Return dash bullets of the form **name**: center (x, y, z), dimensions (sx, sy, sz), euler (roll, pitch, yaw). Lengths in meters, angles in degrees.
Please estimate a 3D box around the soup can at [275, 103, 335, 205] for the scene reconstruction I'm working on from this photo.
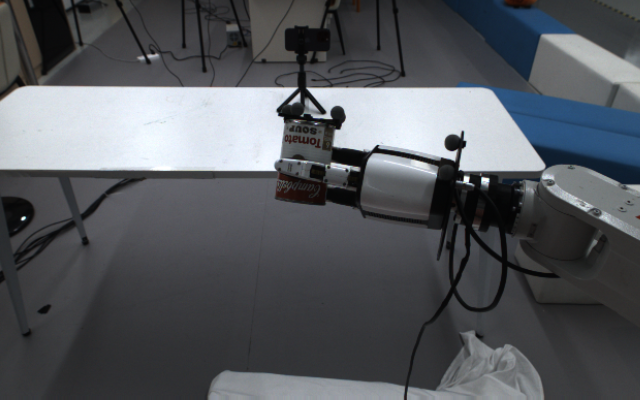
- **soup can**: center (-0.019, -0.048, 0.626), dimensions (0.067, 0.101, 0.067), euler (7, 4, 0)
